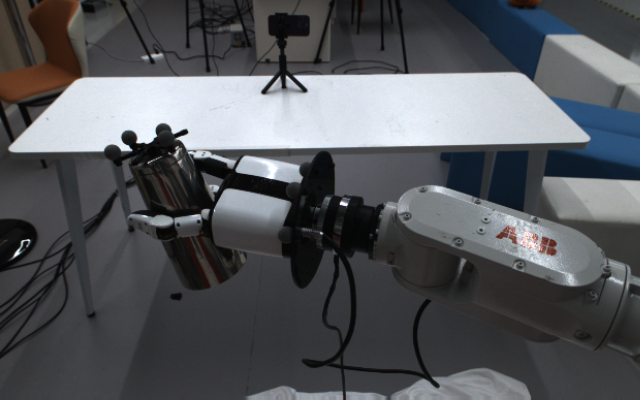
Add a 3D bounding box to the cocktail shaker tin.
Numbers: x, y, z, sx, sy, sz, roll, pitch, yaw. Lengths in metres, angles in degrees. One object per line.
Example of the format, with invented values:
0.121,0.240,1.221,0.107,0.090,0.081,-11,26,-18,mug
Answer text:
-0.163,0.017,0.593,0.093,0.170,0.093,-15,29,8,cocktail shaker tin
